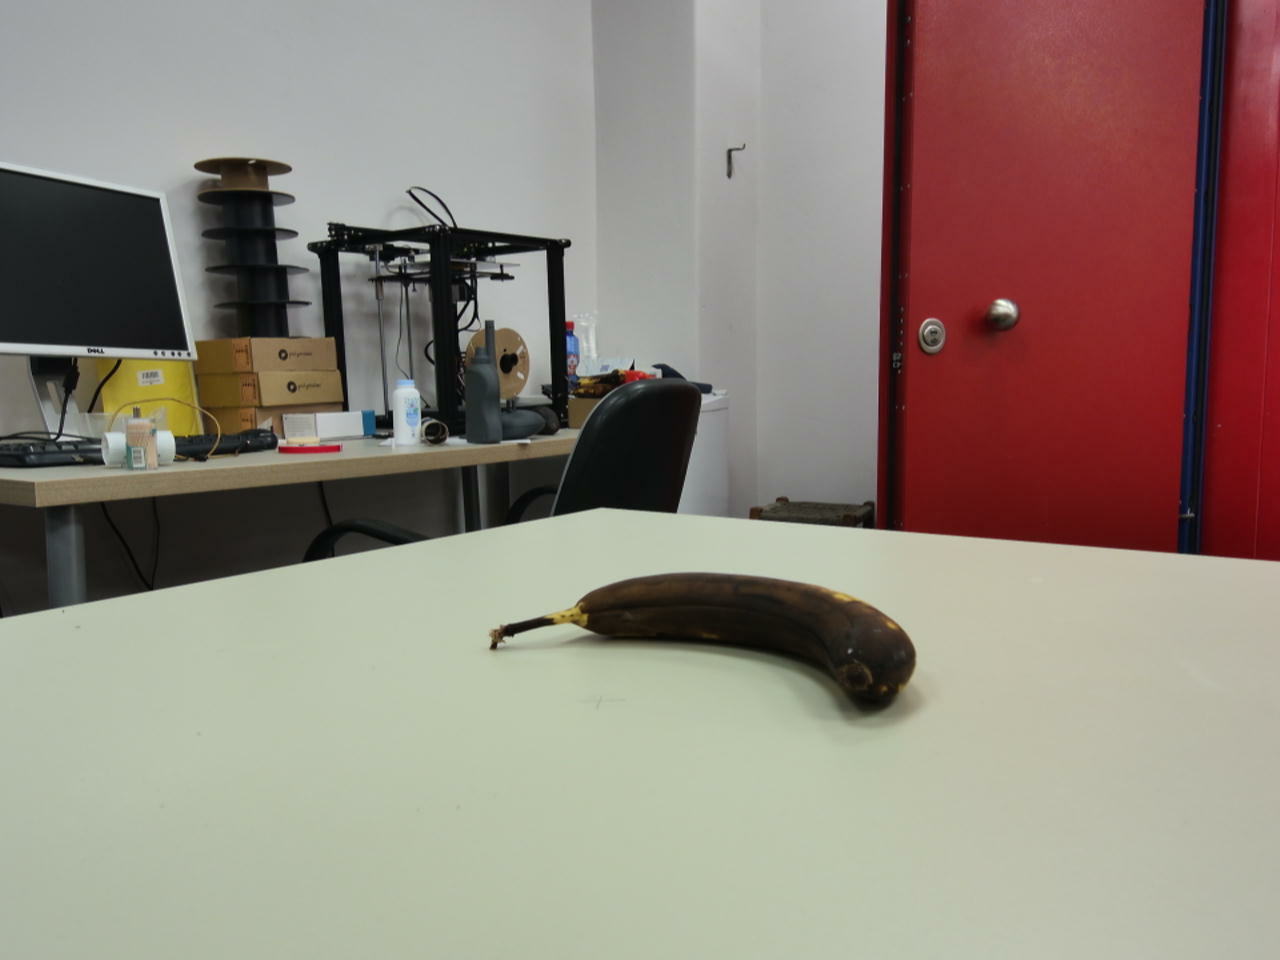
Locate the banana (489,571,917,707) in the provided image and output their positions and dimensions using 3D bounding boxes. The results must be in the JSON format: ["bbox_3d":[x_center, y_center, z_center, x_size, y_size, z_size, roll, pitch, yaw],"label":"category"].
[{"bbox_3d":[0.034,0.061,0.433,0.188,0.033,0.091,3,4,39],"label":"banana"}]
